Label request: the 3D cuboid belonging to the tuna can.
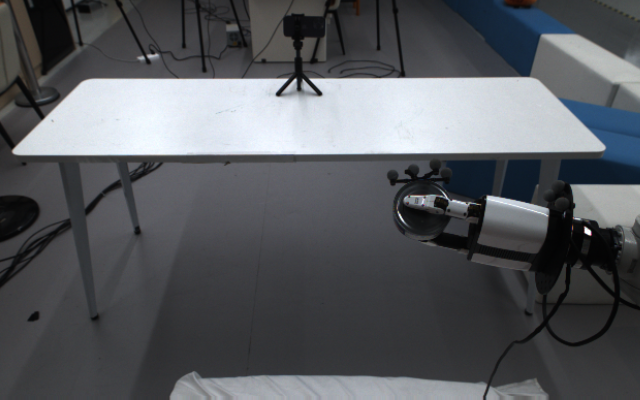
[{"bbox_3d":[0.151,0.014,0.712,0.085,0.034,0.085,-3,67,6],"label":"tuna can"}]
